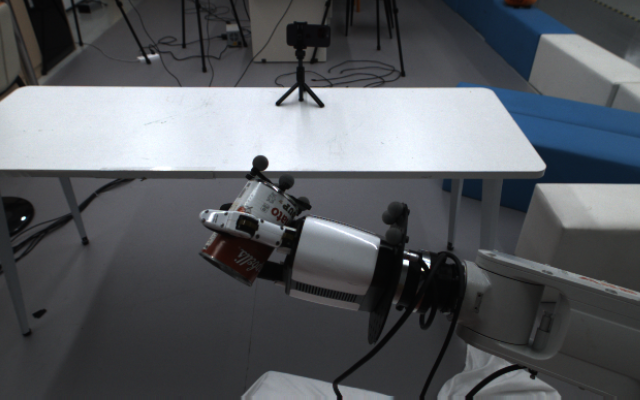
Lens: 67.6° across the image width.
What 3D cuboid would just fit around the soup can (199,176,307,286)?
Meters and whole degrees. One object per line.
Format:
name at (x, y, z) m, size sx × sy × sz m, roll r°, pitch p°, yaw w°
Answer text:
soup can at (-0.075, 0.036, 0.536) m, size 0.067 × 0.067 × 0.101 m, roll 23°, pitch 71°, yaw 27°
